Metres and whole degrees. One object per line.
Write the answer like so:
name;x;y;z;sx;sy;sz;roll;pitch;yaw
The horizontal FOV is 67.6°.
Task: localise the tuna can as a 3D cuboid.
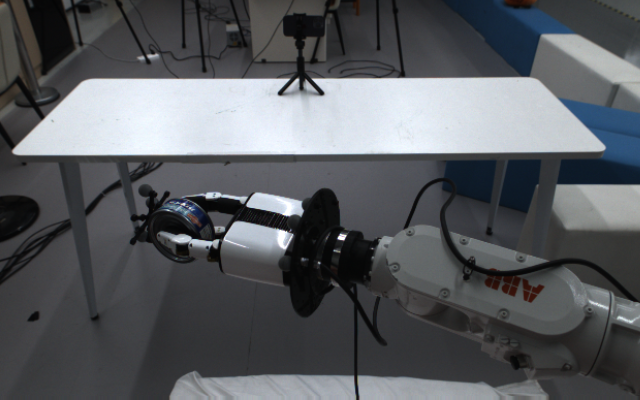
tuna can;-0.185;0.045;0.645;0.085;0.085;0.034;13;31;15
